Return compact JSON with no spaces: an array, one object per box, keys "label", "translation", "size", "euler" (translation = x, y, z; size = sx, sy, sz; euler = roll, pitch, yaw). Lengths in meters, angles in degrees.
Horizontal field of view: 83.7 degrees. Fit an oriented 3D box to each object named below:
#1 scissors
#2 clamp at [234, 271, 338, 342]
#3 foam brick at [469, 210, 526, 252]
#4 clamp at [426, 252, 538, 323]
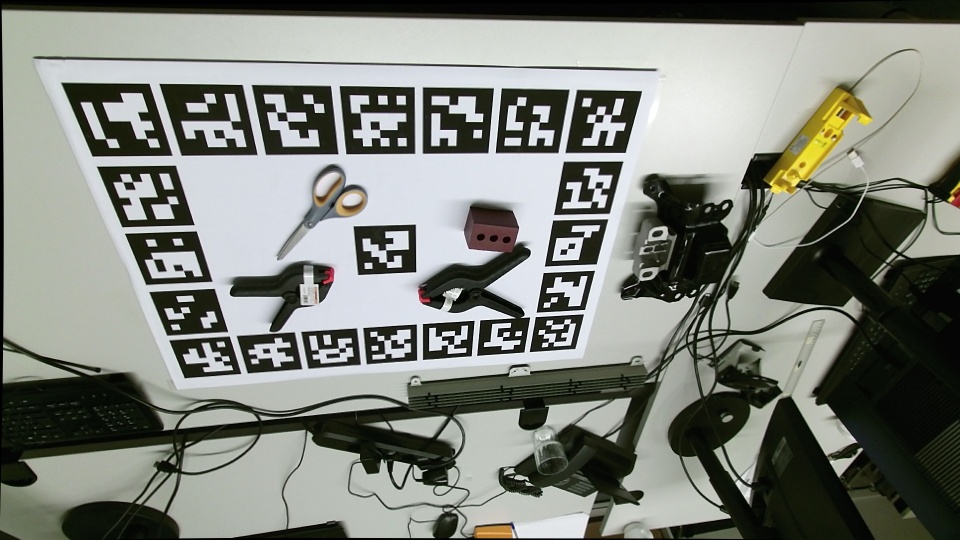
[{"label":"scissors","translation":[-0.249,-0.074,0.855],"size":[0.088,0.016,0.203],"euler":[37,113,-23]},{"label":"clamp","translation":[-0.320,0.049,0.926],"size":[0.165,0.036,0.122],"euler":[-26,120,6]},{"label":"foam brick","translation":[0.029,-0.066,0.906],"size":[0.078,0.051,0.053],"euler":[1,124,-19]},{"label":"clamp","translation":[0.002,0.043,0.985],"size":[0.203,0.036,0.165],"euler":[-5,129,-7]}]
